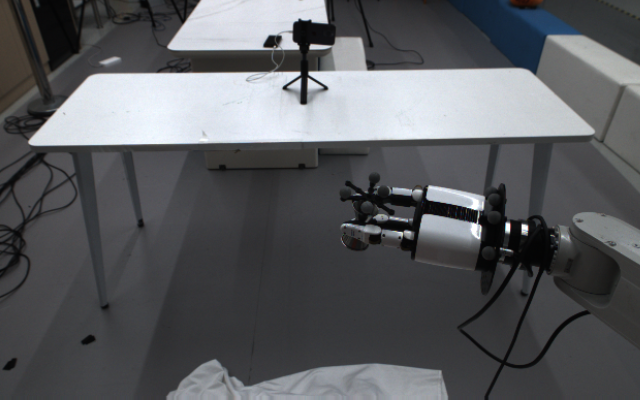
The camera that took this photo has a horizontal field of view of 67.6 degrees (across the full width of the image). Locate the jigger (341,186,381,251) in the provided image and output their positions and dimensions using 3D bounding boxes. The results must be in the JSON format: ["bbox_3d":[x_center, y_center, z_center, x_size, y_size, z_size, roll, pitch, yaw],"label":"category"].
[{"bbox_3d":[0.059,0.036,0.723,0.043,0.071,0.043,10,36,-7],"label":"jigger"}]
